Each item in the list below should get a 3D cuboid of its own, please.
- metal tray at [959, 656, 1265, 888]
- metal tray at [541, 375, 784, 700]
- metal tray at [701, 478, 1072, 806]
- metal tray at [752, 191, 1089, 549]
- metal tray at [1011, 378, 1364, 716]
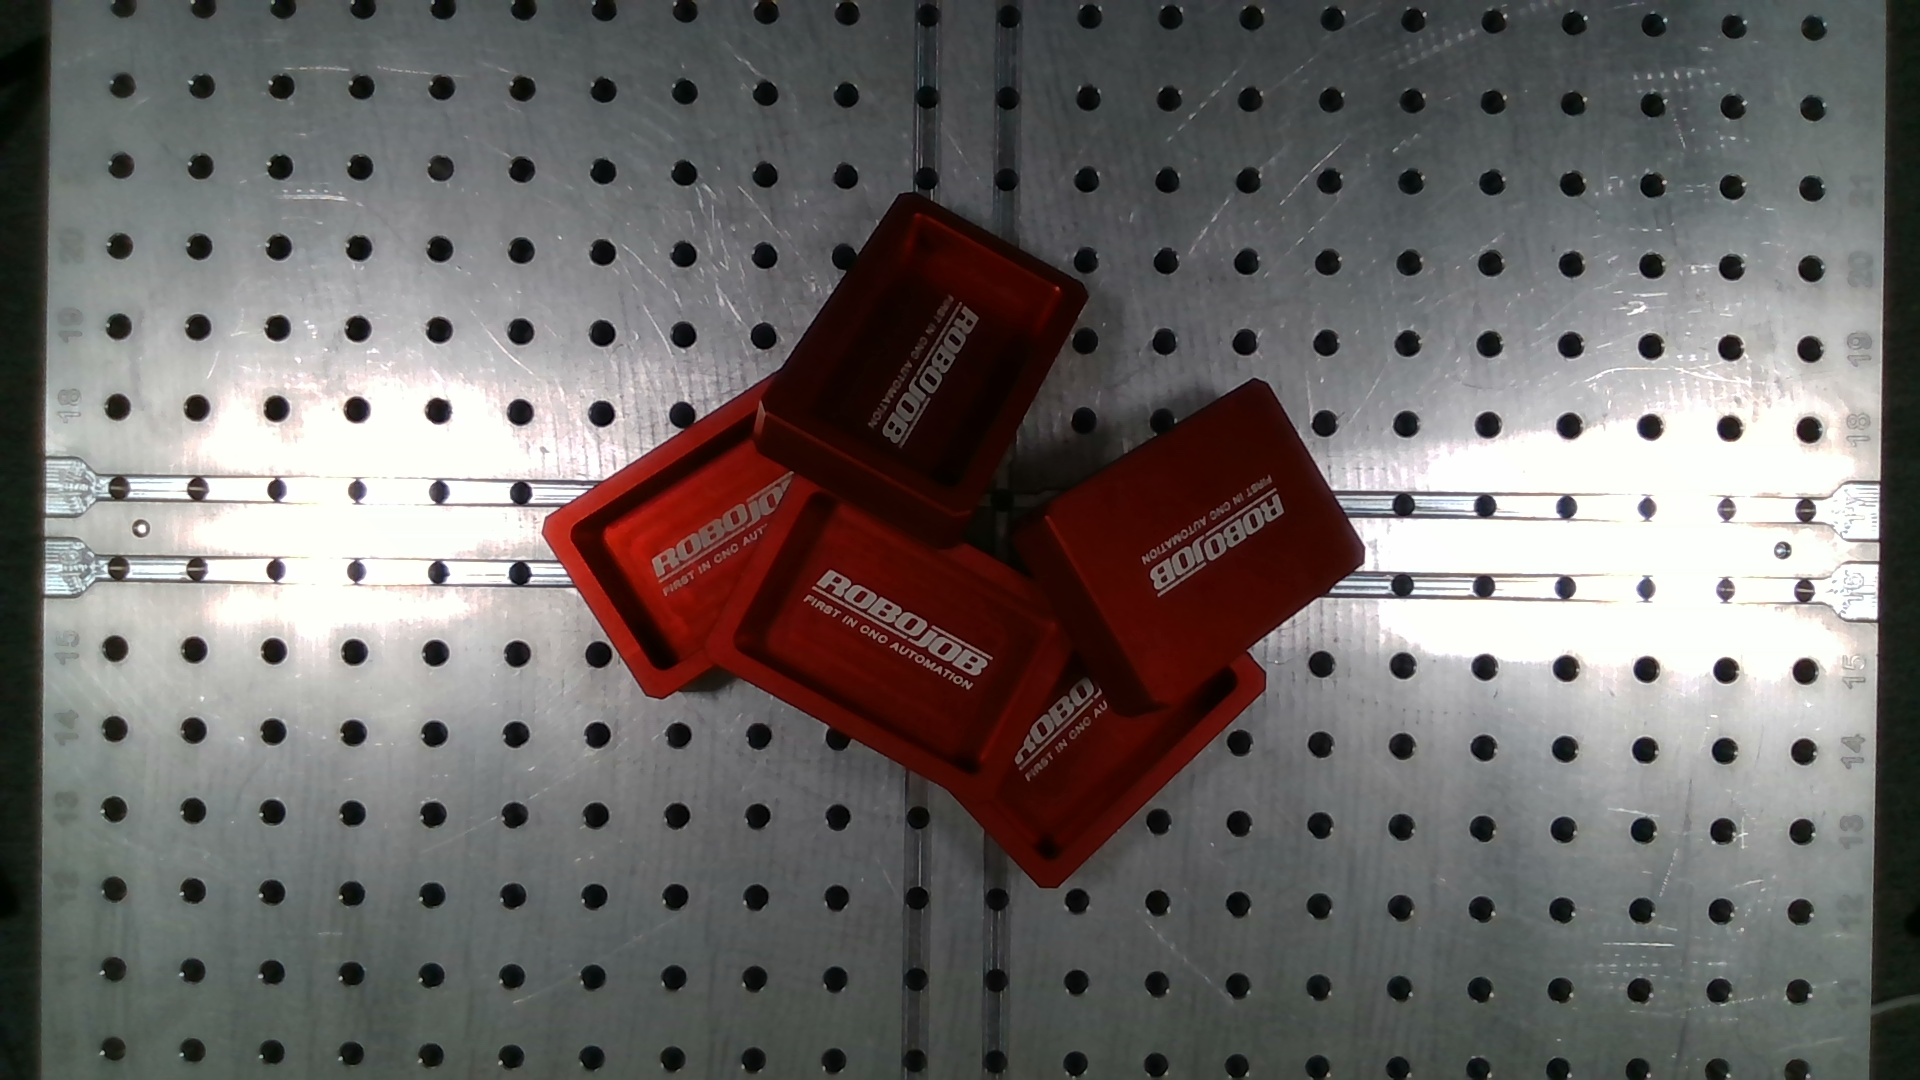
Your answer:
[{"bbox_3d":[0.052,0.071,0.587,0.130,0.030,0.090,-43,90,0],"label":"metal tray"},{"bbox_3d":[-0.098,-0.004,0.586,0.130,0.030,0.090,-33,90,0],"label":"metal tray"},{"bbox_3d":[-0.026,0.037,0.557,0.130,0.030,0.090,28,90,0],"label":"metal tray"},{"bbox_3d":[-0.014,-0.071,0.555,0.090,0.030,0.130,28,60,0],"label":"metal tray"},{"bbox_3d":[0.095,0.001,0.557,0.130,0.030,0.090,-31,91,-30],"label":"metal tray"}]
